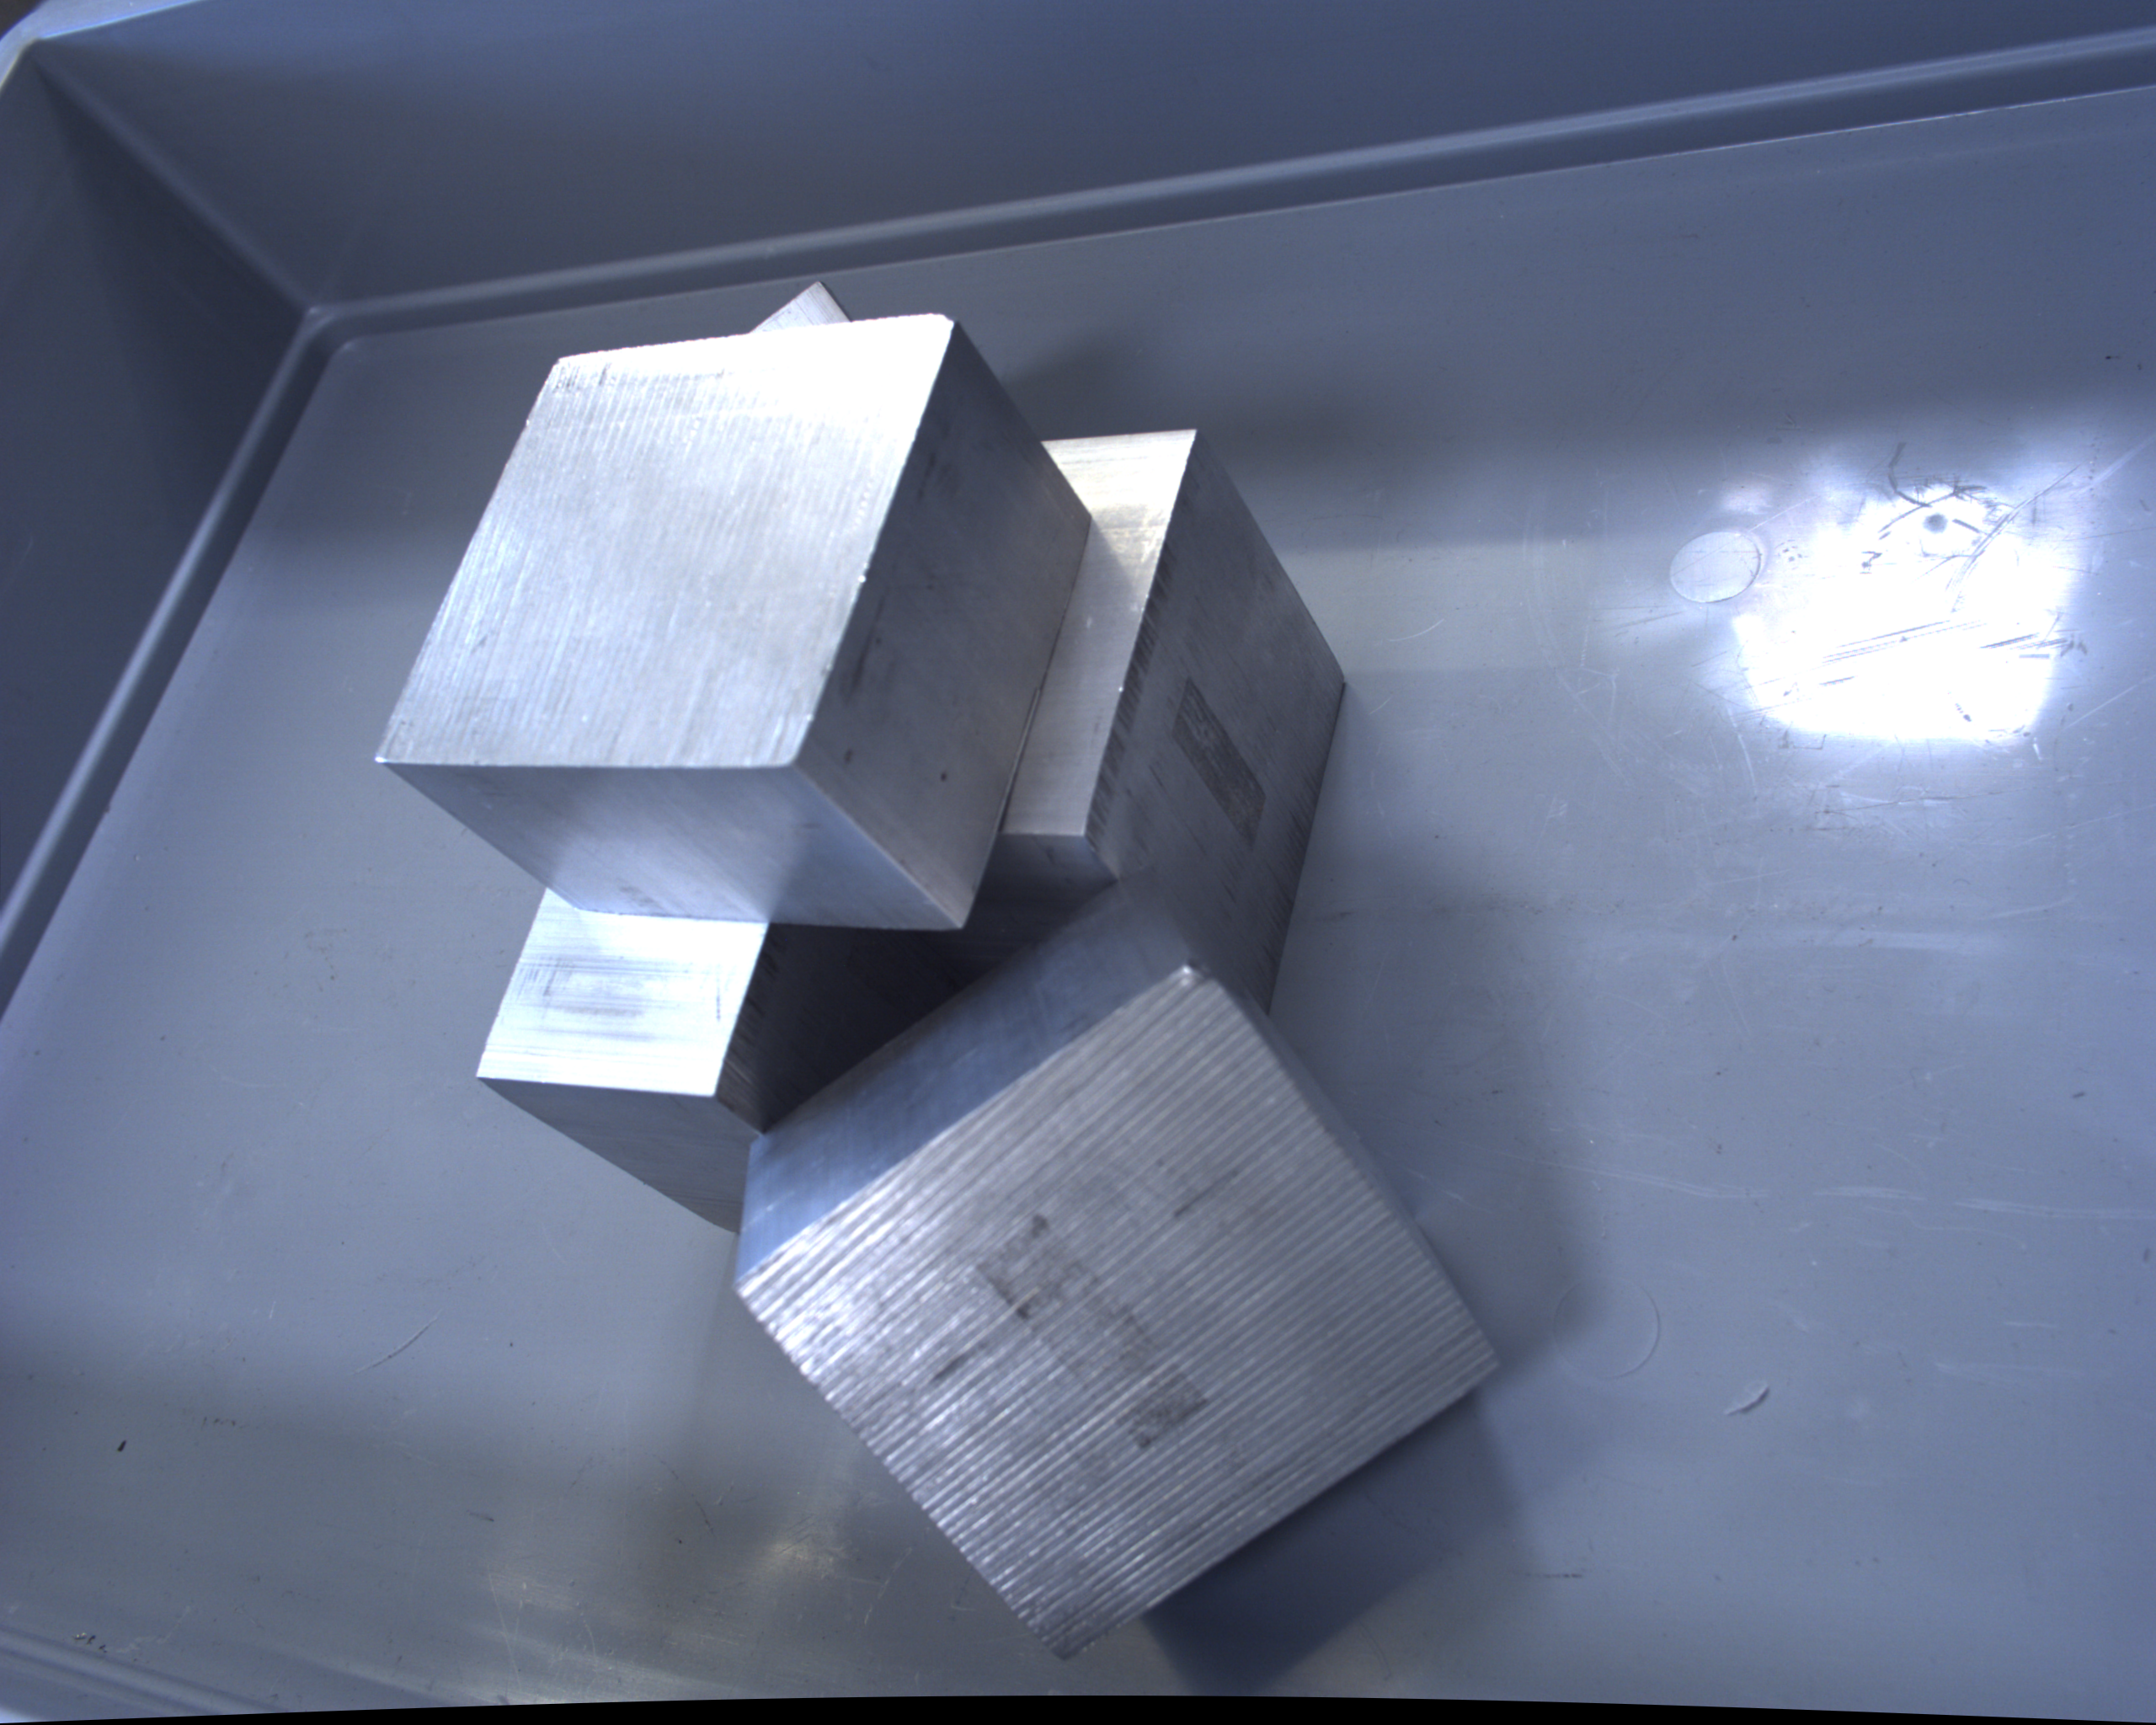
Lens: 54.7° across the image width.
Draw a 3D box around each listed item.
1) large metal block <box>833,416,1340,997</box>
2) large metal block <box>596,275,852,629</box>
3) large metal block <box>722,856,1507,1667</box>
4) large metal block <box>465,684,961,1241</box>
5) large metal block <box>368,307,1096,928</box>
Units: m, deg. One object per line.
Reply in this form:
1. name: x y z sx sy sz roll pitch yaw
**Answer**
1. large metal block: 0.004 -0.022 0.379 0.050 0.080 0.080 1 62 28
2. large metal block: -0.062 -0.066 0.432 0.080 0.080 0.050 -37 86 3
3. large metal block: 0.004 0.059 0.320 0.080 0.080 0.050 -36 16 4
4. large metal block: -0.054 0.021 0.384 0.050 0.080 0.080 1 62 28
5. large metal block: -0.053 -0.038 0.335 0.080 0.050 0.080 2 63 29
